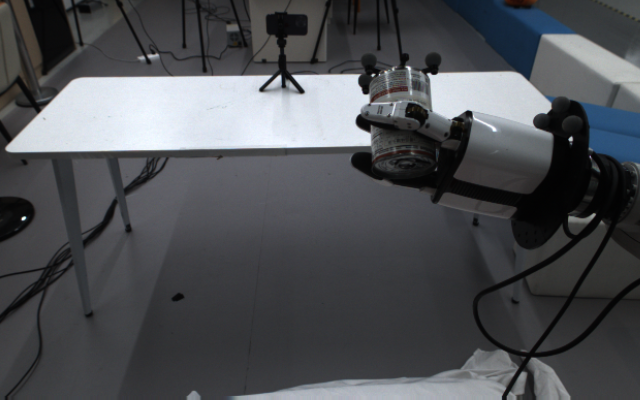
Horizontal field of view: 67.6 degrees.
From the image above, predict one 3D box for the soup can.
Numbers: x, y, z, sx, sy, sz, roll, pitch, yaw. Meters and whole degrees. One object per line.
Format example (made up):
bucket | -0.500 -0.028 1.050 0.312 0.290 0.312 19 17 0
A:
soup can | 0.089 -0.081 0.515 0.067 0.067 0.101 1 72 -2
